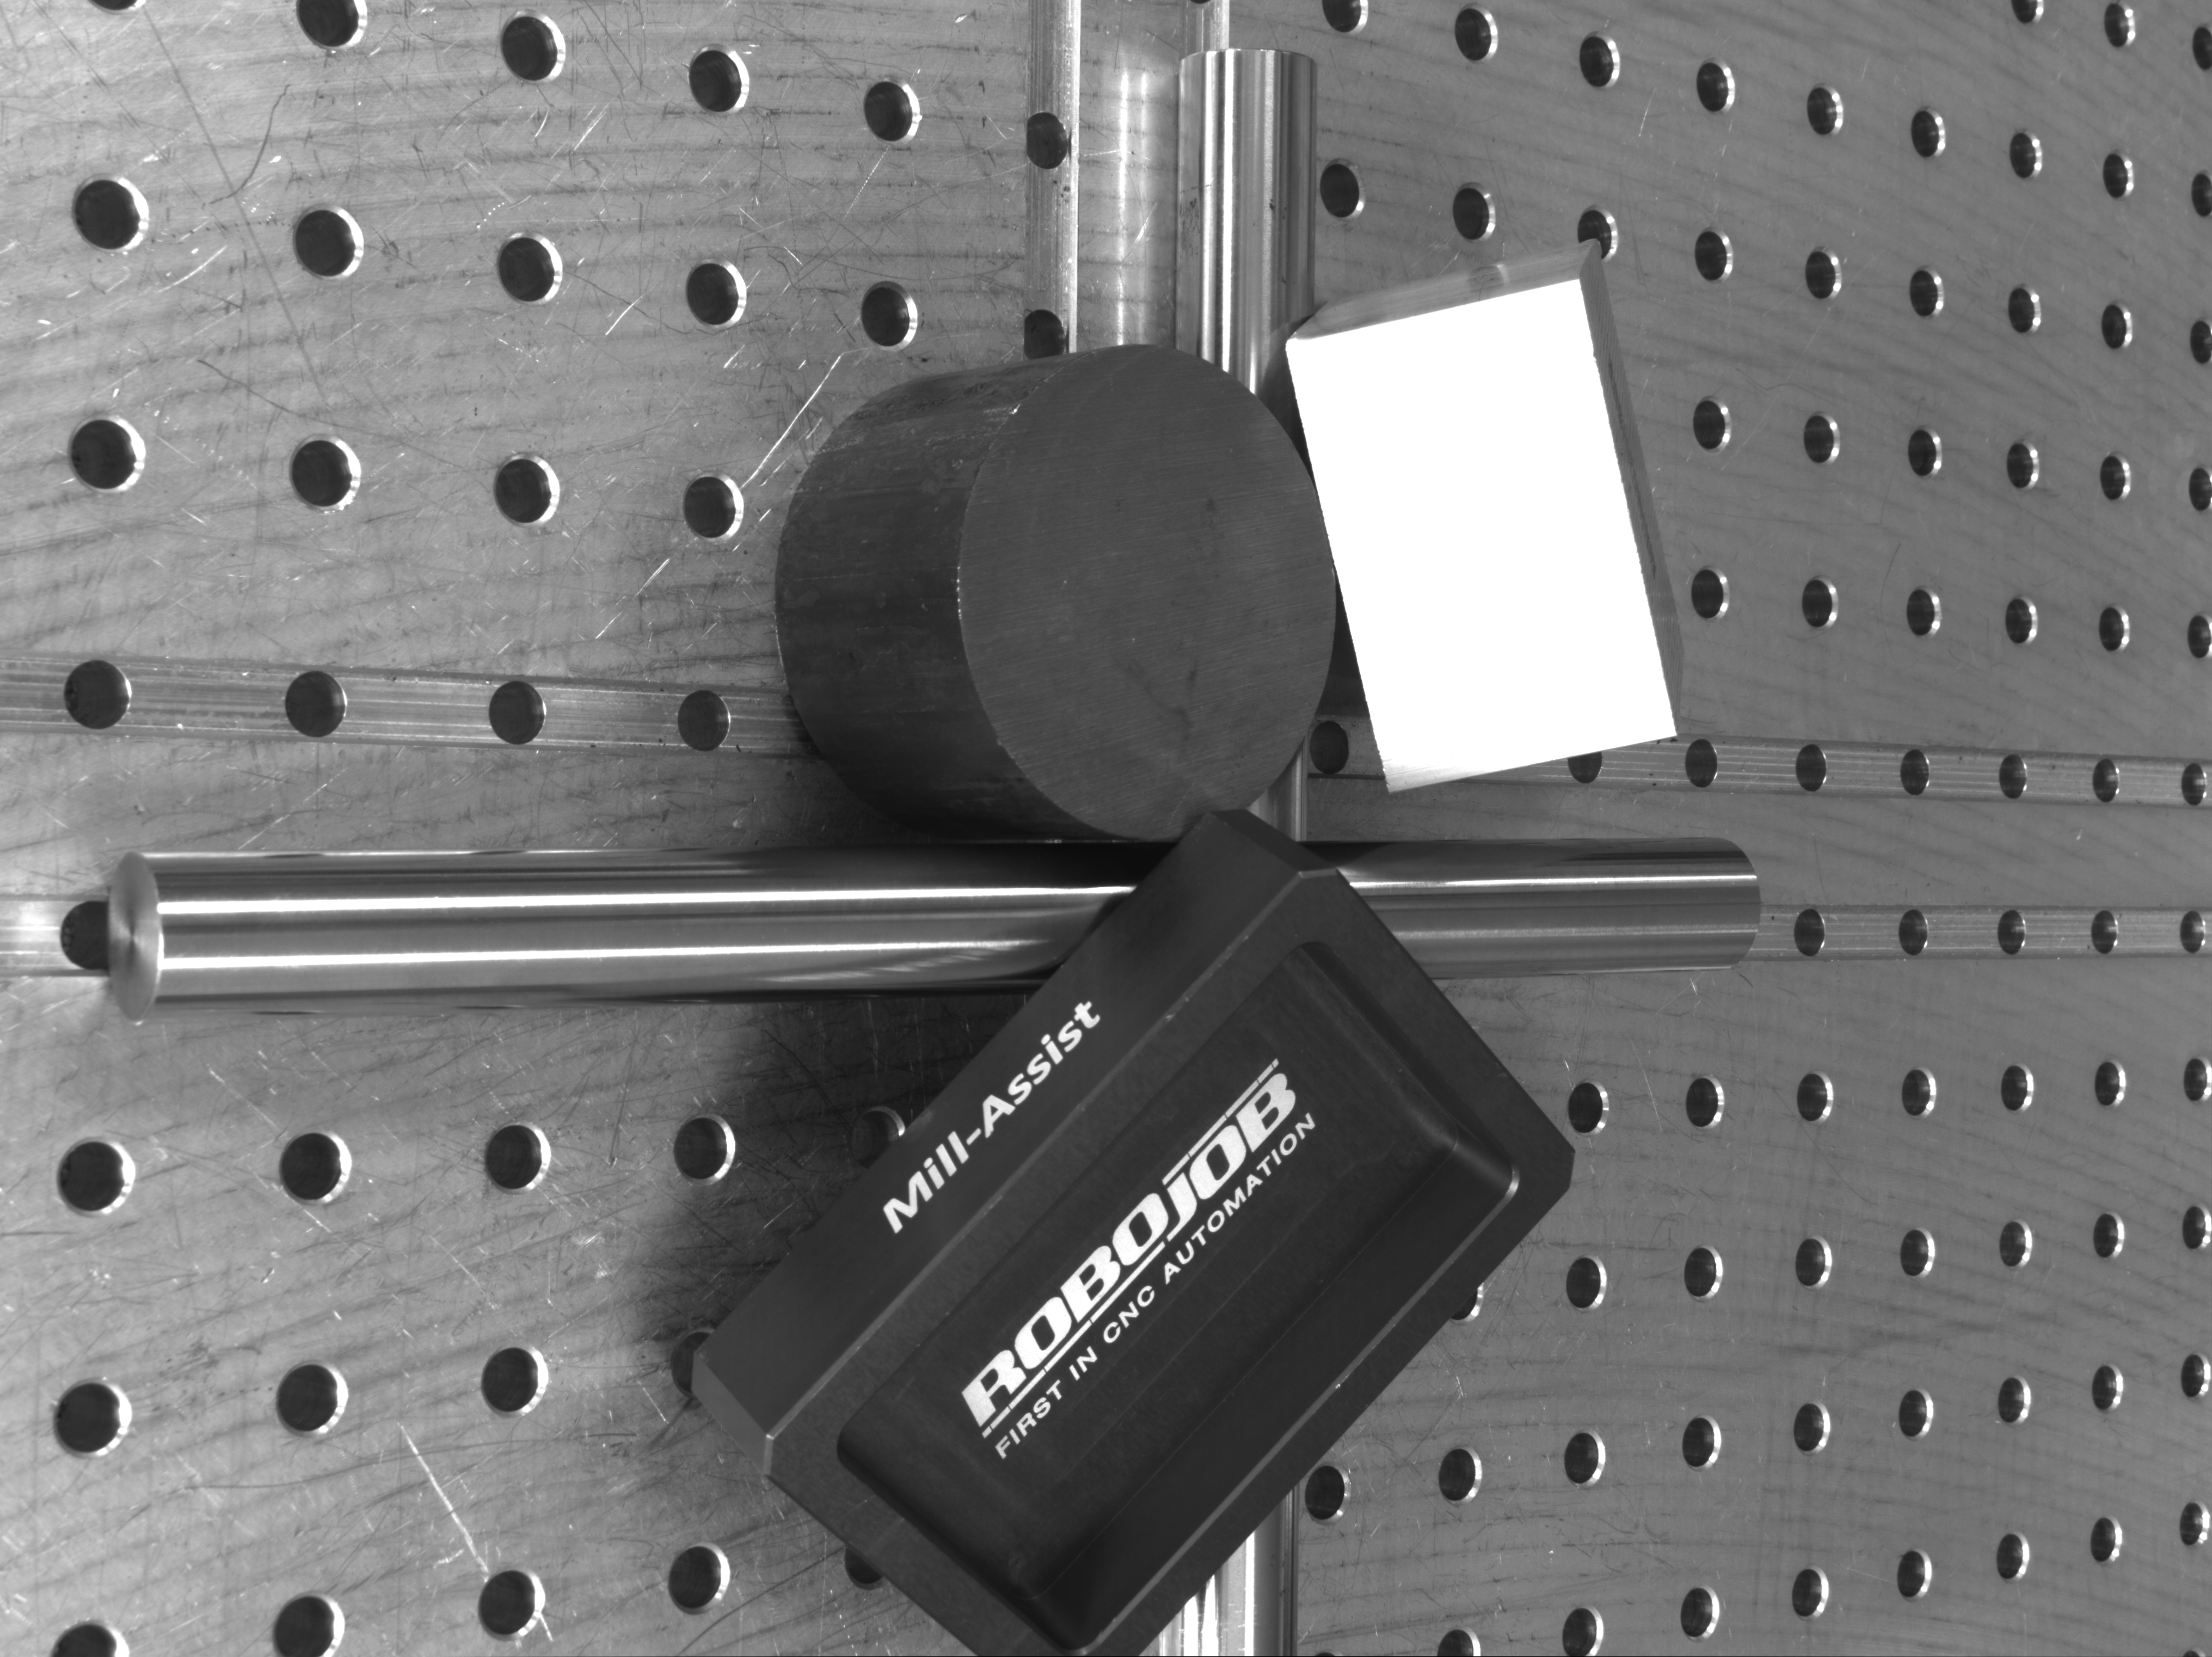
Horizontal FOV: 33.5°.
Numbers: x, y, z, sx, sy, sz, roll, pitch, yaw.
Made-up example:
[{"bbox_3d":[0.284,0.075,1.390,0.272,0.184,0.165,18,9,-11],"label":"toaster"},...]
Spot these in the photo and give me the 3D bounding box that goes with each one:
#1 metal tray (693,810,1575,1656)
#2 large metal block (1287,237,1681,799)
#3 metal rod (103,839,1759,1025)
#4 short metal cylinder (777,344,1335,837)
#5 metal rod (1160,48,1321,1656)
[{"bbox_3d":[0.007,0.073,0.608,0.130,0.030,0.090,-46,126,-6],"label":"metal tray"},{"bbox_3d":[0.070,-0.057,0.656,0.080,0.050,0.080,-56,134,-74],"label":"large metal block"},{"bbox_3d":[-0.013,0.015,0.607,0.301,0.025,0.025,0,90,-33],"label":"metal rod"},{"bbox_3d":[-0.008,-0.039,0.616,0.080,0.050,0.080,0,90,-40],"label":"short metal cylinder"},{"bbox_3d":[0.024,0.013,0.659,0.025,0.025,0.300,1,89,-40],"label":"metal rod"}]
